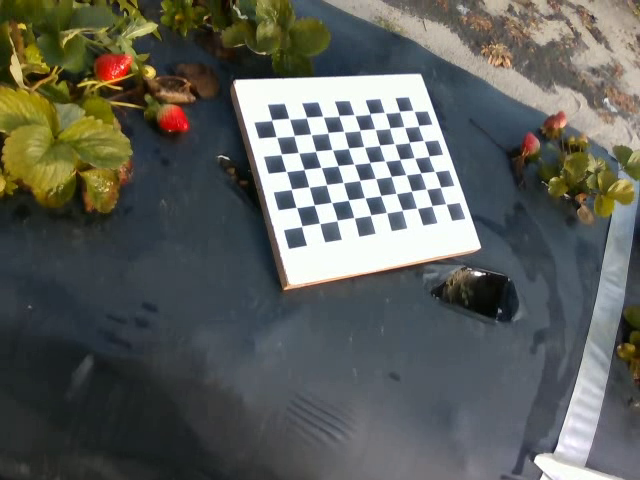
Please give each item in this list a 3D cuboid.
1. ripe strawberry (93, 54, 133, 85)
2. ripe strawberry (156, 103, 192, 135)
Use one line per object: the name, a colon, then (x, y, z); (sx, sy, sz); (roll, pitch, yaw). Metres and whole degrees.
ripe strawberry: (-0.235, -0.201, 0.711); (0.049, 0.040, 0.032); (-31, -8, 13)
ripe strawberry: (-0.169, -0.139, 0.718); (0.043, 0.035, 0.029); (39, -31, 0)
